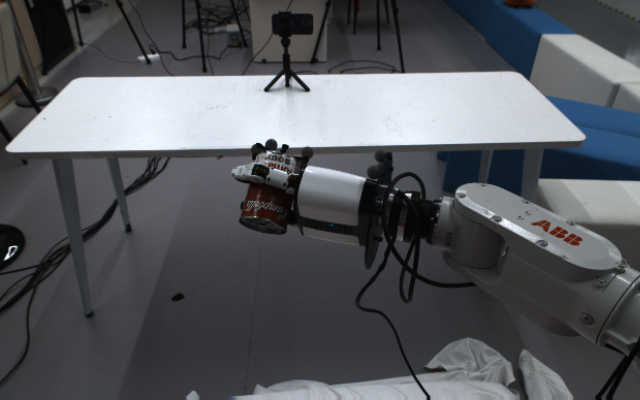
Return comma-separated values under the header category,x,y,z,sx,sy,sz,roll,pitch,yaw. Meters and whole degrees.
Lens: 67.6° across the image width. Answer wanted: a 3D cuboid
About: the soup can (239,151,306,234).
category,x,y,z,sx,sy,sz,roll,pitch,yaw
soup can,-0.068,-0.010,0.678,0.067,0.067,0.101,9,71,9
